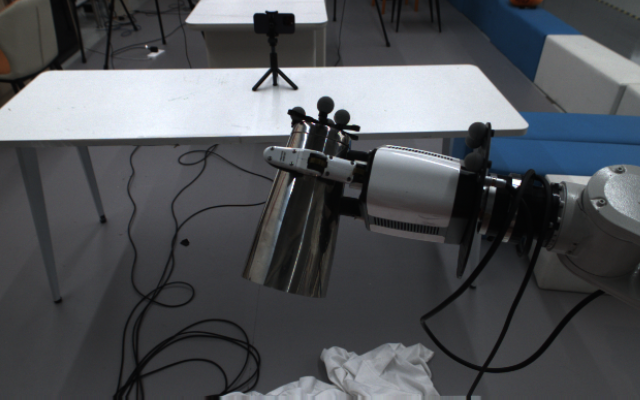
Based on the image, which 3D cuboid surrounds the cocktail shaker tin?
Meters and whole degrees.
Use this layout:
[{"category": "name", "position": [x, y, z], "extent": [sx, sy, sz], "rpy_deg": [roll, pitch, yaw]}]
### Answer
[{"category": "cocktail shaker tin", "position": [-0.016, 0.007, 0.520], "extent": [0.093, 0.170, 0.093], "rpy_deg": [14, -5, 1]}]
